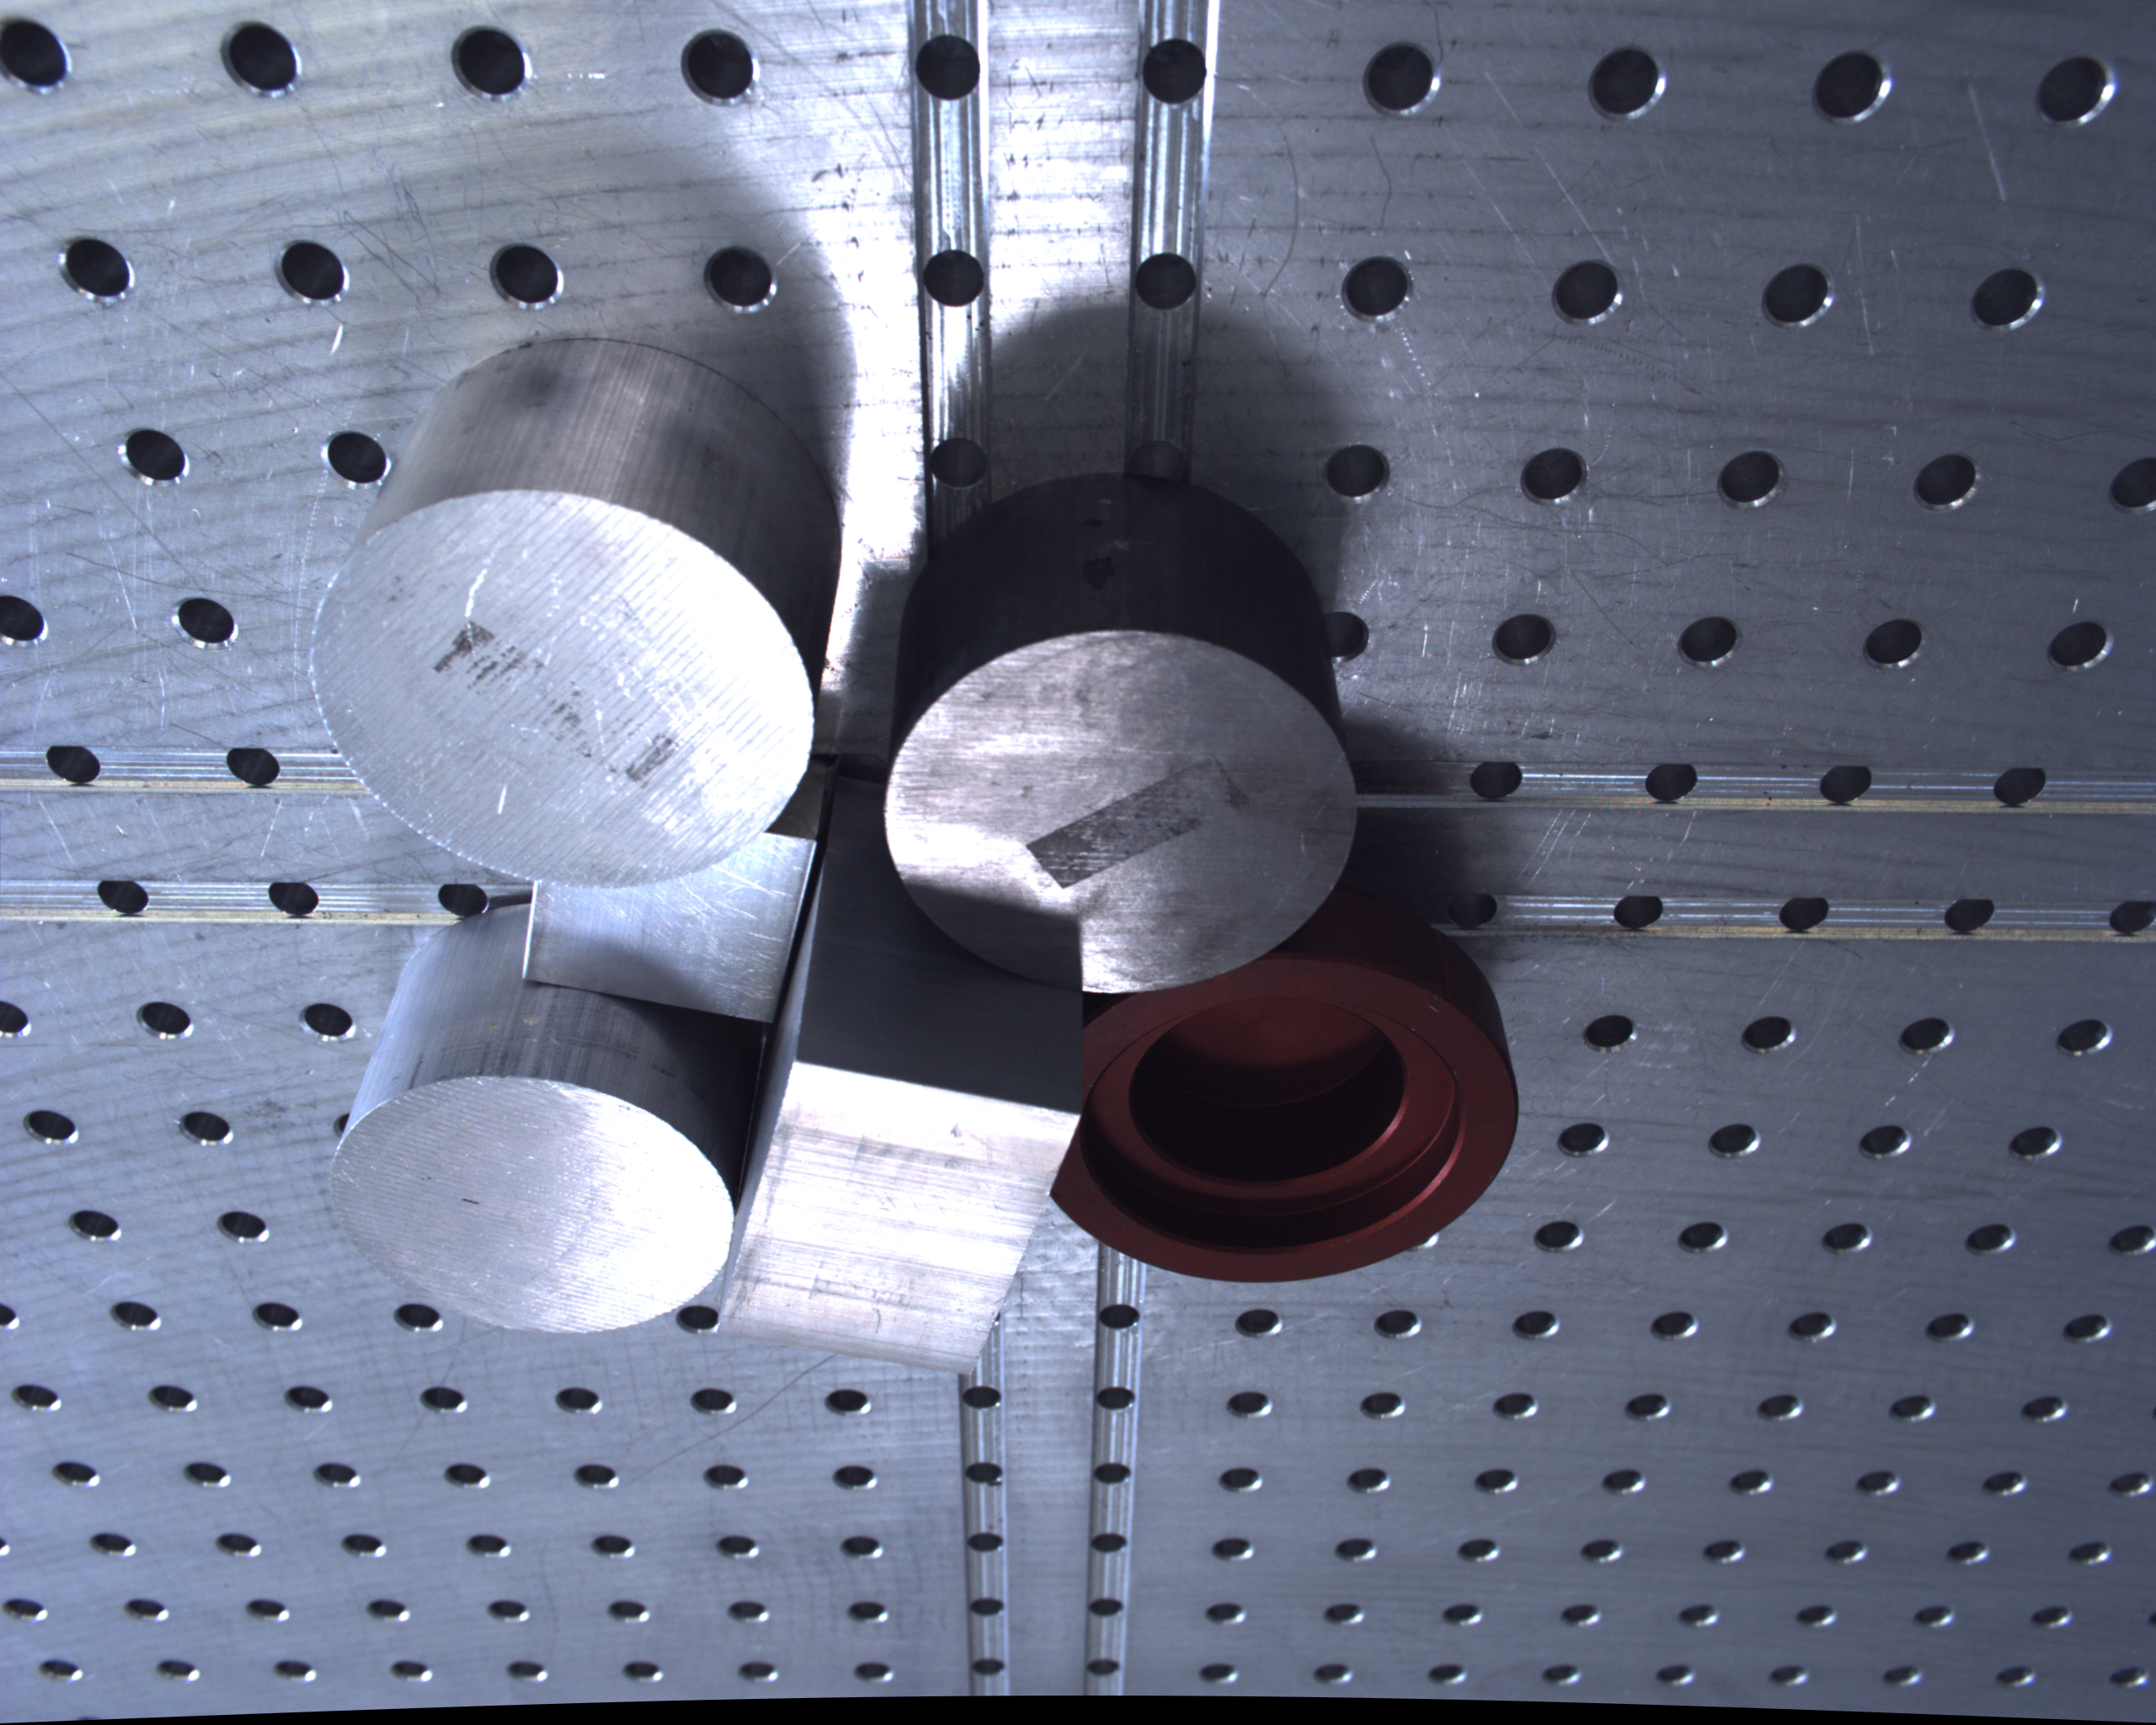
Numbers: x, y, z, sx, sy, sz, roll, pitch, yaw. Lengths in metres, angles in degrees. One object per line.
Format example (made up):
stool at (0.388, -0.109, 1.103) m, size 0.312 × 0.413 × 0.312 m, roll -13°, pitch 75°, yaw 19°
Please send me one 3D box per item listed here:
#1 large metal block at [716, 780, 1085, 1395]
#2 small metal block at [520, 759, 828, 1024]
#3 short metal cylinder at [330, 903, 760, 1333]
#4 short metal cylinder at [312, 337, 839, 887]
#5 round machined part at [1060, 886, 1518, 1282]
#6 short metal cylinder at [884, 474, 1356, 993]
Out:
large metal block at (-0.034, 0.044, 0.408) m, size 0.050 × 0.080 × 0.079 m, roll 12°, pitch 129°, yaw -10°
small metal block at (-0.080, 0.002, 0.412) m, size 0.050 × 0.025 × 0.050 m, roll 11°, pitch 129°, yaw -10°
short metal cylinder at (-0.110, 0.054, 0.440) m, size 0.081 × 0.050 × 0.079 m, roll 0°, pitch 130°, yaw 0°
short metal cylinder at (-0.083, -0.042, 0.358) m, size 0.081 × 0.050 × 0.079 m, roll 0°, pitch 130°, yaw 0°
round machined part at (0.039, 0.041, 0.435) m, size 0.099 × 0.042 × 0.097 m, roll 0°, pitch 130°, yaw 0°
short metal cylinder at (0.007, -0.022, 0.376) m, size 0.081 × 0.050 × 0.079 m, roll 0°, pitch 130°, yaw 0°
